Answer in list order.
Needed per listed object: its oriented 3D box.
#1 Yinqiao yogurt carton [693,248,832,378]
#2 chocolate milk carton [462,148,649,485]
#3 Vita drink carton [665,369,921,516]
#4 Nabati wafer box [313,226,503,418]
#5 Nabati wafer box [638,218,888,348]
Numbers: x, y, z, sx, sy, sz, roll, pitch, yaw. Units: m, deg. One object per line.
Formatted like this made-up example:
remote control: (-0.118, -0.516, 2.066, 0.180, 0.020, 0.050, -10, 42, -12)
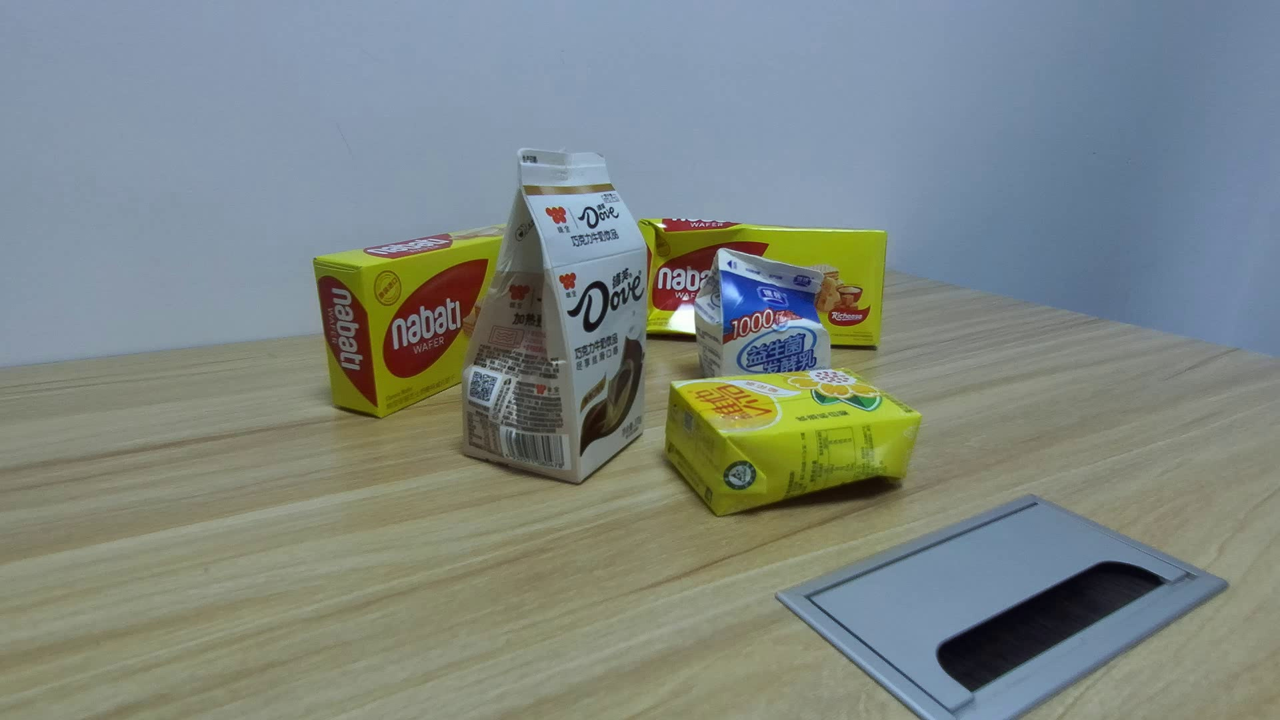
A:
Yinqiao yogurt carton: (0.081, -0.027, 0.464, 0.083, 0.093, 0.077, -1, 19, -4)
chocolate milk carton: (-0.044, -0.027, 0.363, 0.073, 0.155, 0.084, 10, 20, 25)
Vita drink carton: (0.075, 0.039, 0.351, 0.109, 0.043, 0.076, -3, 21, -20)
Nabati wafer box: (-0.123, -0.038, 0.492, 0.042, 0.093, 0.203, 10, 20, 26)
Nabati wafer box: (0.096, -0.063, 0.582, 0.203, 0.096, 0.042, 4, 8, 3)
